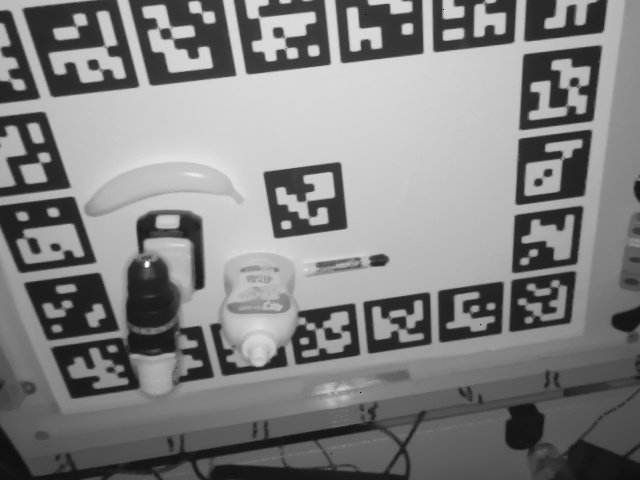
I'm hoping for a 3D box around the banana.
[{"bbox_3d":[-0.180,-0.073,0.866,0.198,0.039,0.073,0,116,-8],"label":"banana"}]

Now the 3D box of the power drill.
[{"bbox_3d":[-0.177,0.050,0.822,0.057,0.188,0.182,7,120,-6],"label":"power drill"}]

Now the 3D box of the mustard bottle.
[{"bbox_3d":[-0.068,0.088,0.872,0.096,0.192,0.058,5,118,-6],"label":"mustard bottle"}]

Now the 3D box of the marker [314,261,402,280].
[{"bbox_3d":[0.053,0.042,0.959,0.121,0.020,0.019,-4,117,-4],"label":"marker"}]
